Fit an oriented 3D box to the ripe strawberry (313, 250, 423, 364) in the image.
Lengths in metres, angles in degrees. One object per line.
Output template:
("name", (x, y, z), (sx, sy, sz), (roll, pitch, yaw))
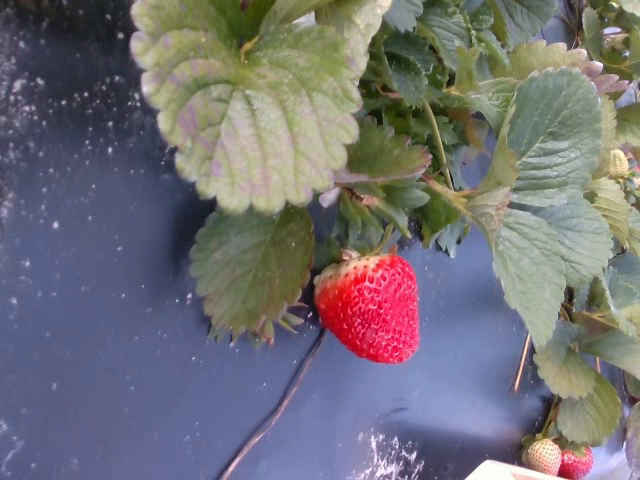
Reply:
("ripe strawberry", (0.023, 0.033, 0.258), (0.049, 0.053, 0.050), (-36, -34, 24))
